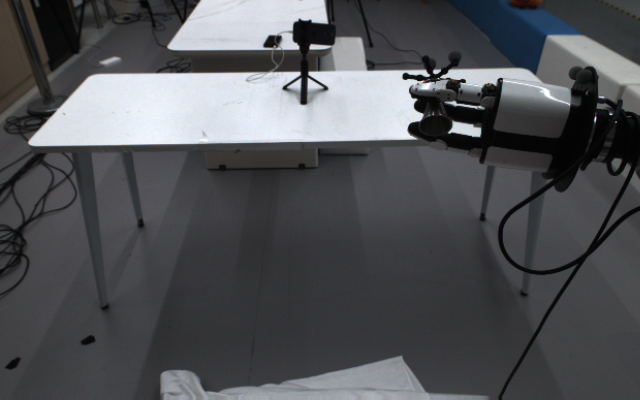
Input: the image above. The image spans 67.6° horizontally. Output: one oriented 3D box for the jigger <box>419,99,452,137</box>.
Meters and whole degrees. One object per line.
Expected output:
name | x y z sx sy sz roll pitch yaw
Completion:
jigger | 0.154 -0.127 0.660 0.043 0.043 0.071 4 61 3
